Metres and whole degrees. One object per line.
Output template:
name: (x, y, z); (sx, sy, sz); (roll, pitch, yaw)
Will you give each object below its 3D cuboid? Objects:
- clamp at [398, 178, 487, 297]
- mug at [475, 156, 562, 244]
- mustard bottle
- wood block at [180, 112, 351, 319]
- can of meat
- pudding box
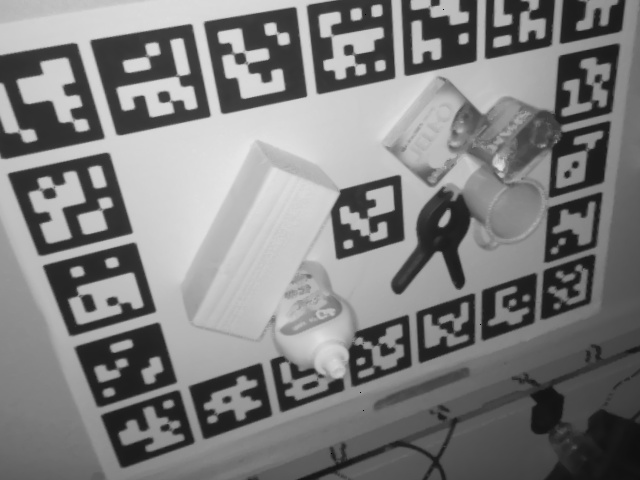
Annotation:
clamp: (0.178, -0.001, 0.926); (0.123, 0.036, 0.164); (6, 110, -21)
mug: (0.254, -0.052, 0.925); (0.094, 0.081, 0.116); (9, 109, -23)
mustard bottle: (-0.001, 0.080, 0.800); (0.097, 0.191, 0.058); (-17, 119, -12)
wood block: (-0.066, -0.026, 0.790); (0.091, 0.091, 0.204); (25, 106, -30)
can of meat: (0.265, -0.137, 0.855); (0.102, 0.083, 0.058); (-39, 120, 1)
pudding box: (0.161, -0.147, 0.844); (0.113, 0.038, 0.090); (-47, 120, 7)
